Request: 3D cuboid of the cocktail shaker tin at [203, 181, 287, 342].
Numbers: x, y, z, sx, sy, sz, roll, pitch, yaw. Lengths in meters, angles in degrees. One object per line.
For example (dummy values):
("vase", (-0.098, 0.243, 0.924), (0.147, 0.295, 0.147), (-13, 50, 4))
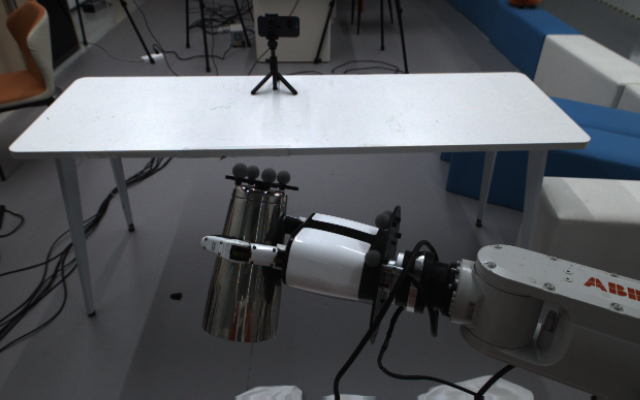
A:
("cocktail shaker tin", (-0.083, 0.072, 0.583), (0.093, 0.170, 0.093), (9, 3, 0))
